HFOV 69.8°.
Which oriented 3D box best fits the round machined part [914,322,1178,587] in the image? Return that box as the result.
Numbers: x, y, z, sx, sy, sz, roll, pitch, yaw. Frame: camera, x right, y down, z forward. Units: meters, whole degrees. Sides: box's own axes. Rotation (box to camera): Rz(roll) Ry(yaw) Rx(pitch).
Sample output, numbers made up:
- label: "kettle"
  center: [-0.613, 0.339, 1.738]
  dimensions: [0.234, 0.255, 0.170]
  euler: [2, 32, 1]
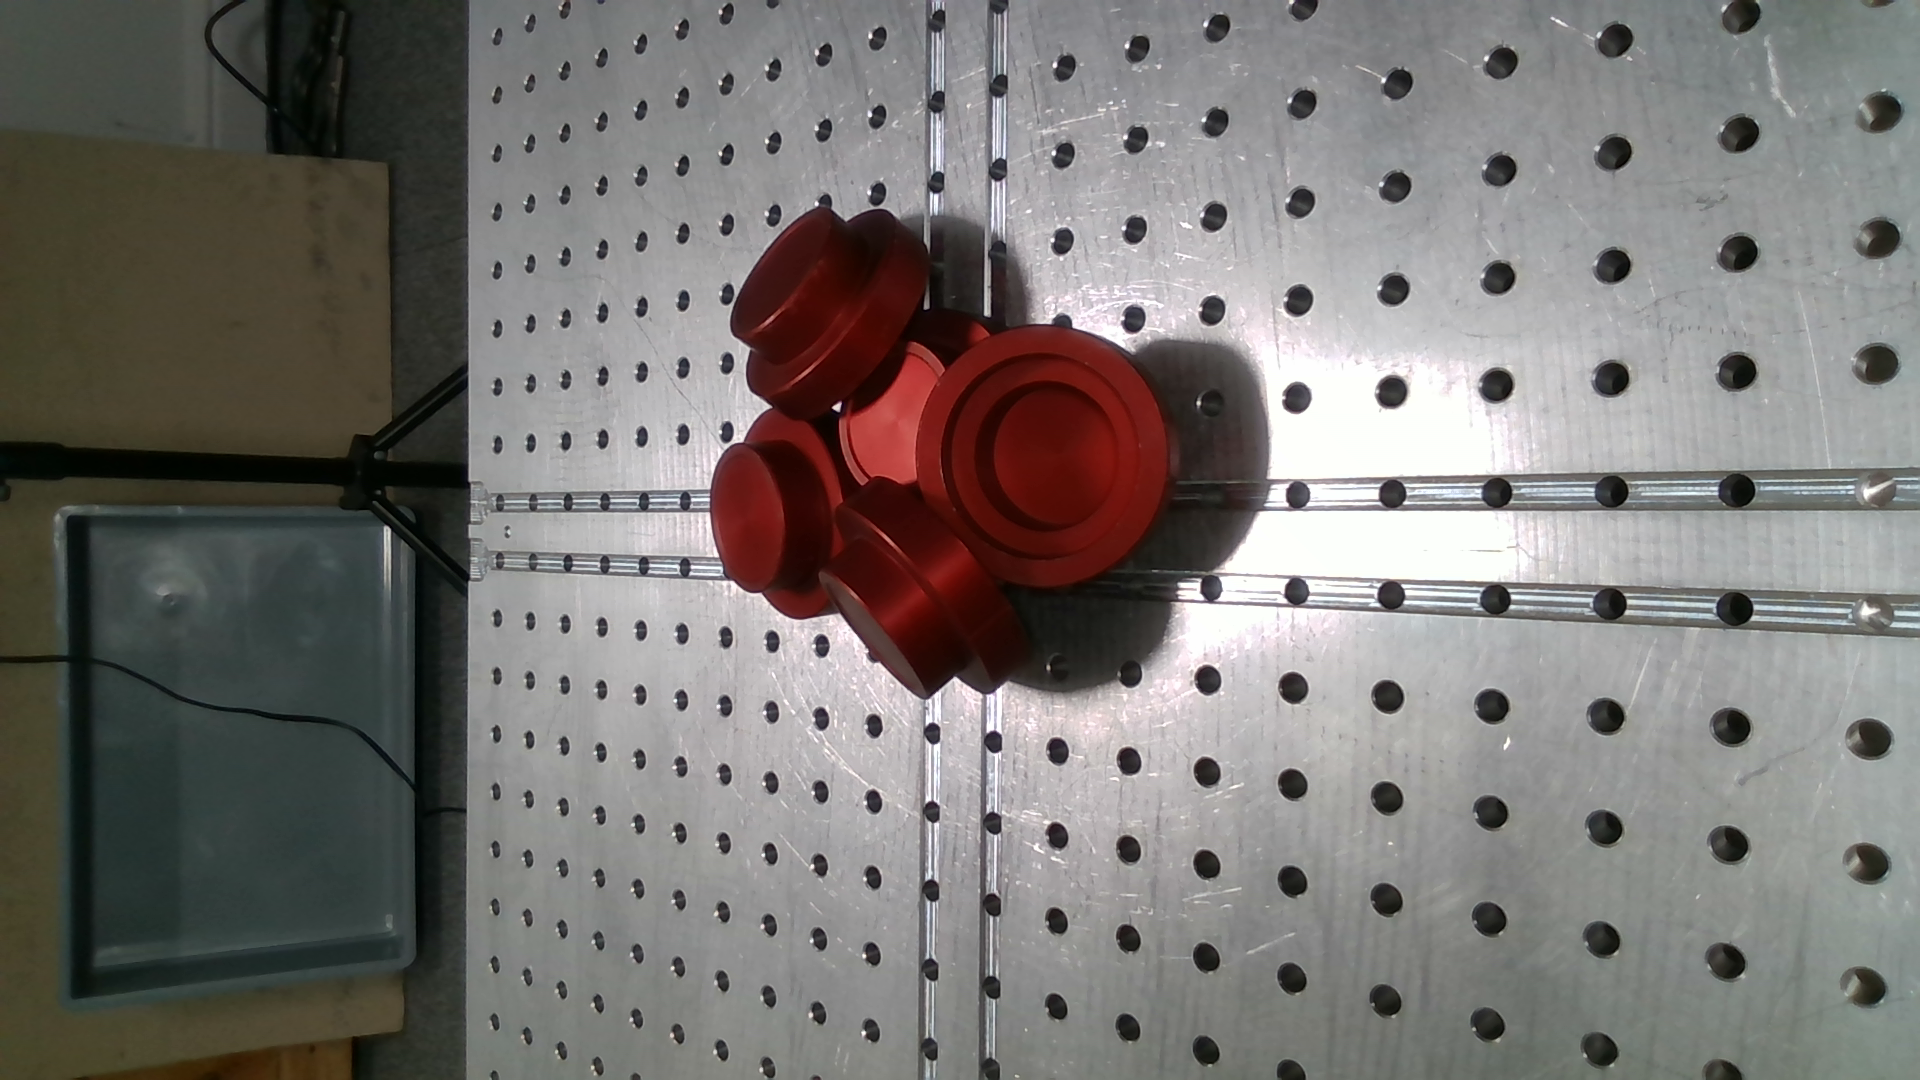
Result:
- label: "round machined part"
  center: [0.035, -0.033, 0.529]
  dimensions: [0.098, 0.042, 0.098]
  euler: [2, 96, 19]

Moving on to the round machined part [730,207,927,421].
- label: "round machined part"
  center: [-0.063, -0.104, 0.595]
  dimensions: [0.098, 0.042, 0.098]
  euler: [-35, 36, 31]

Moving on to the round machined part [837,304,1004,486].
- label: "round machined part"
  center: [-0.014, -0.051, 0.584]
  dimensions: [0.098, 0.042, 0.098]
  euler: [0, 91, 40]

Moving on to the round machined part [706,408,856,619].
- label: "round machined part"
  center: [-0.081, -0.012, 0.626]
  dimensions: [0.098, 0.042, 0.098]
  euler: [12, 106, 50]

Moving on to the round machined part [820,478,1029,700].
- label: "round machined part"
  center: [-0.020, 0.026, 0.553]
  dimensions: [0.042, 0.098, 0.098]
  euler: [-40, 57, -13]
